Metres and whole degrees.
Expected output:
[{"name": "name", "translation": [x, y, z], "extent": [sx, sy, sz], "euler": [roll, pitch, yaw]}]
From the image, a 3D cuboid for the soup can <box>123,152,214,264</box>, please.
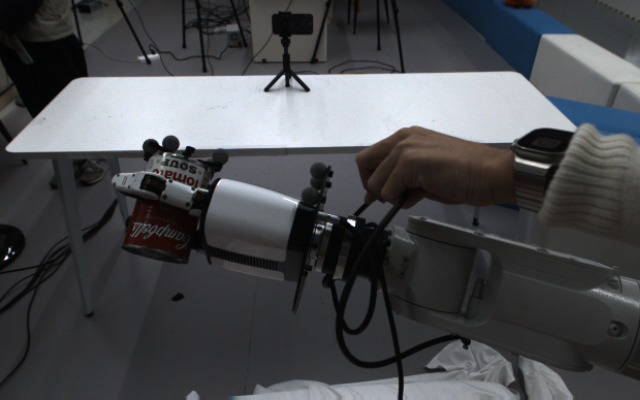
[{"name": "soup can", "translation": [-0.157, 0.011, 0.504], "extent": [0.067, 0.067, 0.101], "euler": [8, 72, 8]}]
